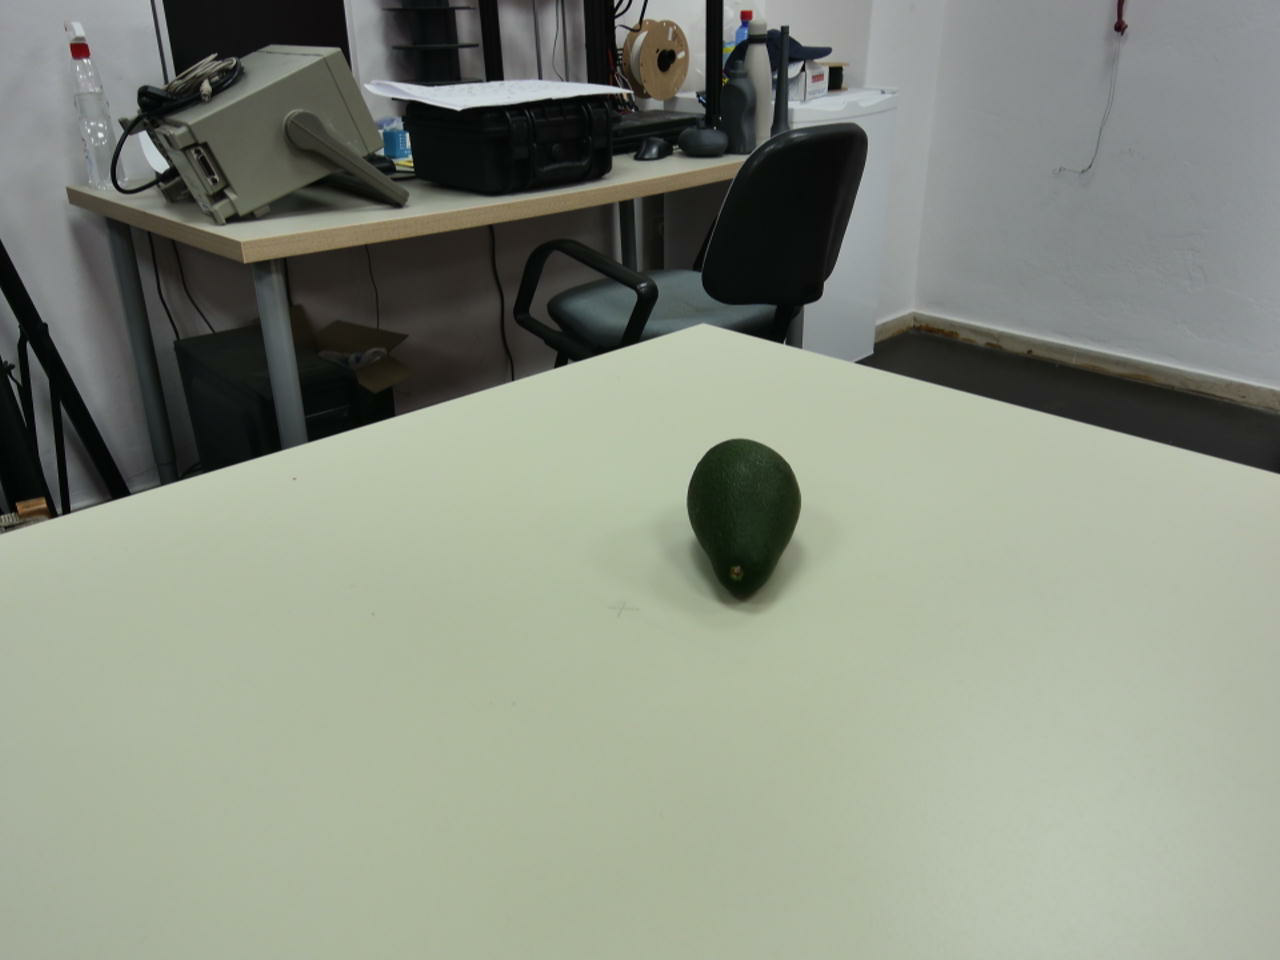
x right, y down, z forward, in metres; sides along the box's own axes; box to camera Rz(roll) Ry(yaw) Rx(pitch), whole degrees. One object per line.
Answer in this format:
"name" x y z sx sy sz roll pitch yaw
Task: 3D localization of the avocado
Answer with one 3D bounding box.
"avocado" 0.058 0.017 0.607 0.073 0.071 0.109 11 26 23
